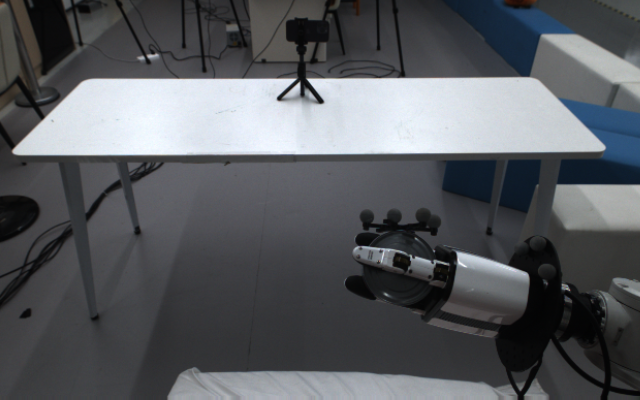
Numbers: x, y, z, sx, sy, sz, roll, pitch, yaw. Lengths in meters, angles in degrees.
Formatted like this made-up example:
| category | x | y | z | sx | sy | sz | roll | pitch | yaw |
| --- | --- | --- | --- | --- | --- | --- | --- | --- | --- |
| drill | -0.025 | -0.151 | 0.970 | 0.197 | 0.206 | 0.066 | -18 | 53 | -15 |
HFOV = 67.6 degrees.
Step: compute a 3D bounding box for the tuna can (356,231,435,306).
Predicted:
| category | x | y | z | sx | sy | sz | roll | pitch | yaw |
| --- | --- | --- | --- | --- | --- | --- | --- | --- | --- |
| tuna can | 0.093 | 0.078 | 0.564 | 0.085 | 0.034 | 0.085 | 0 | 74 | 1 |
